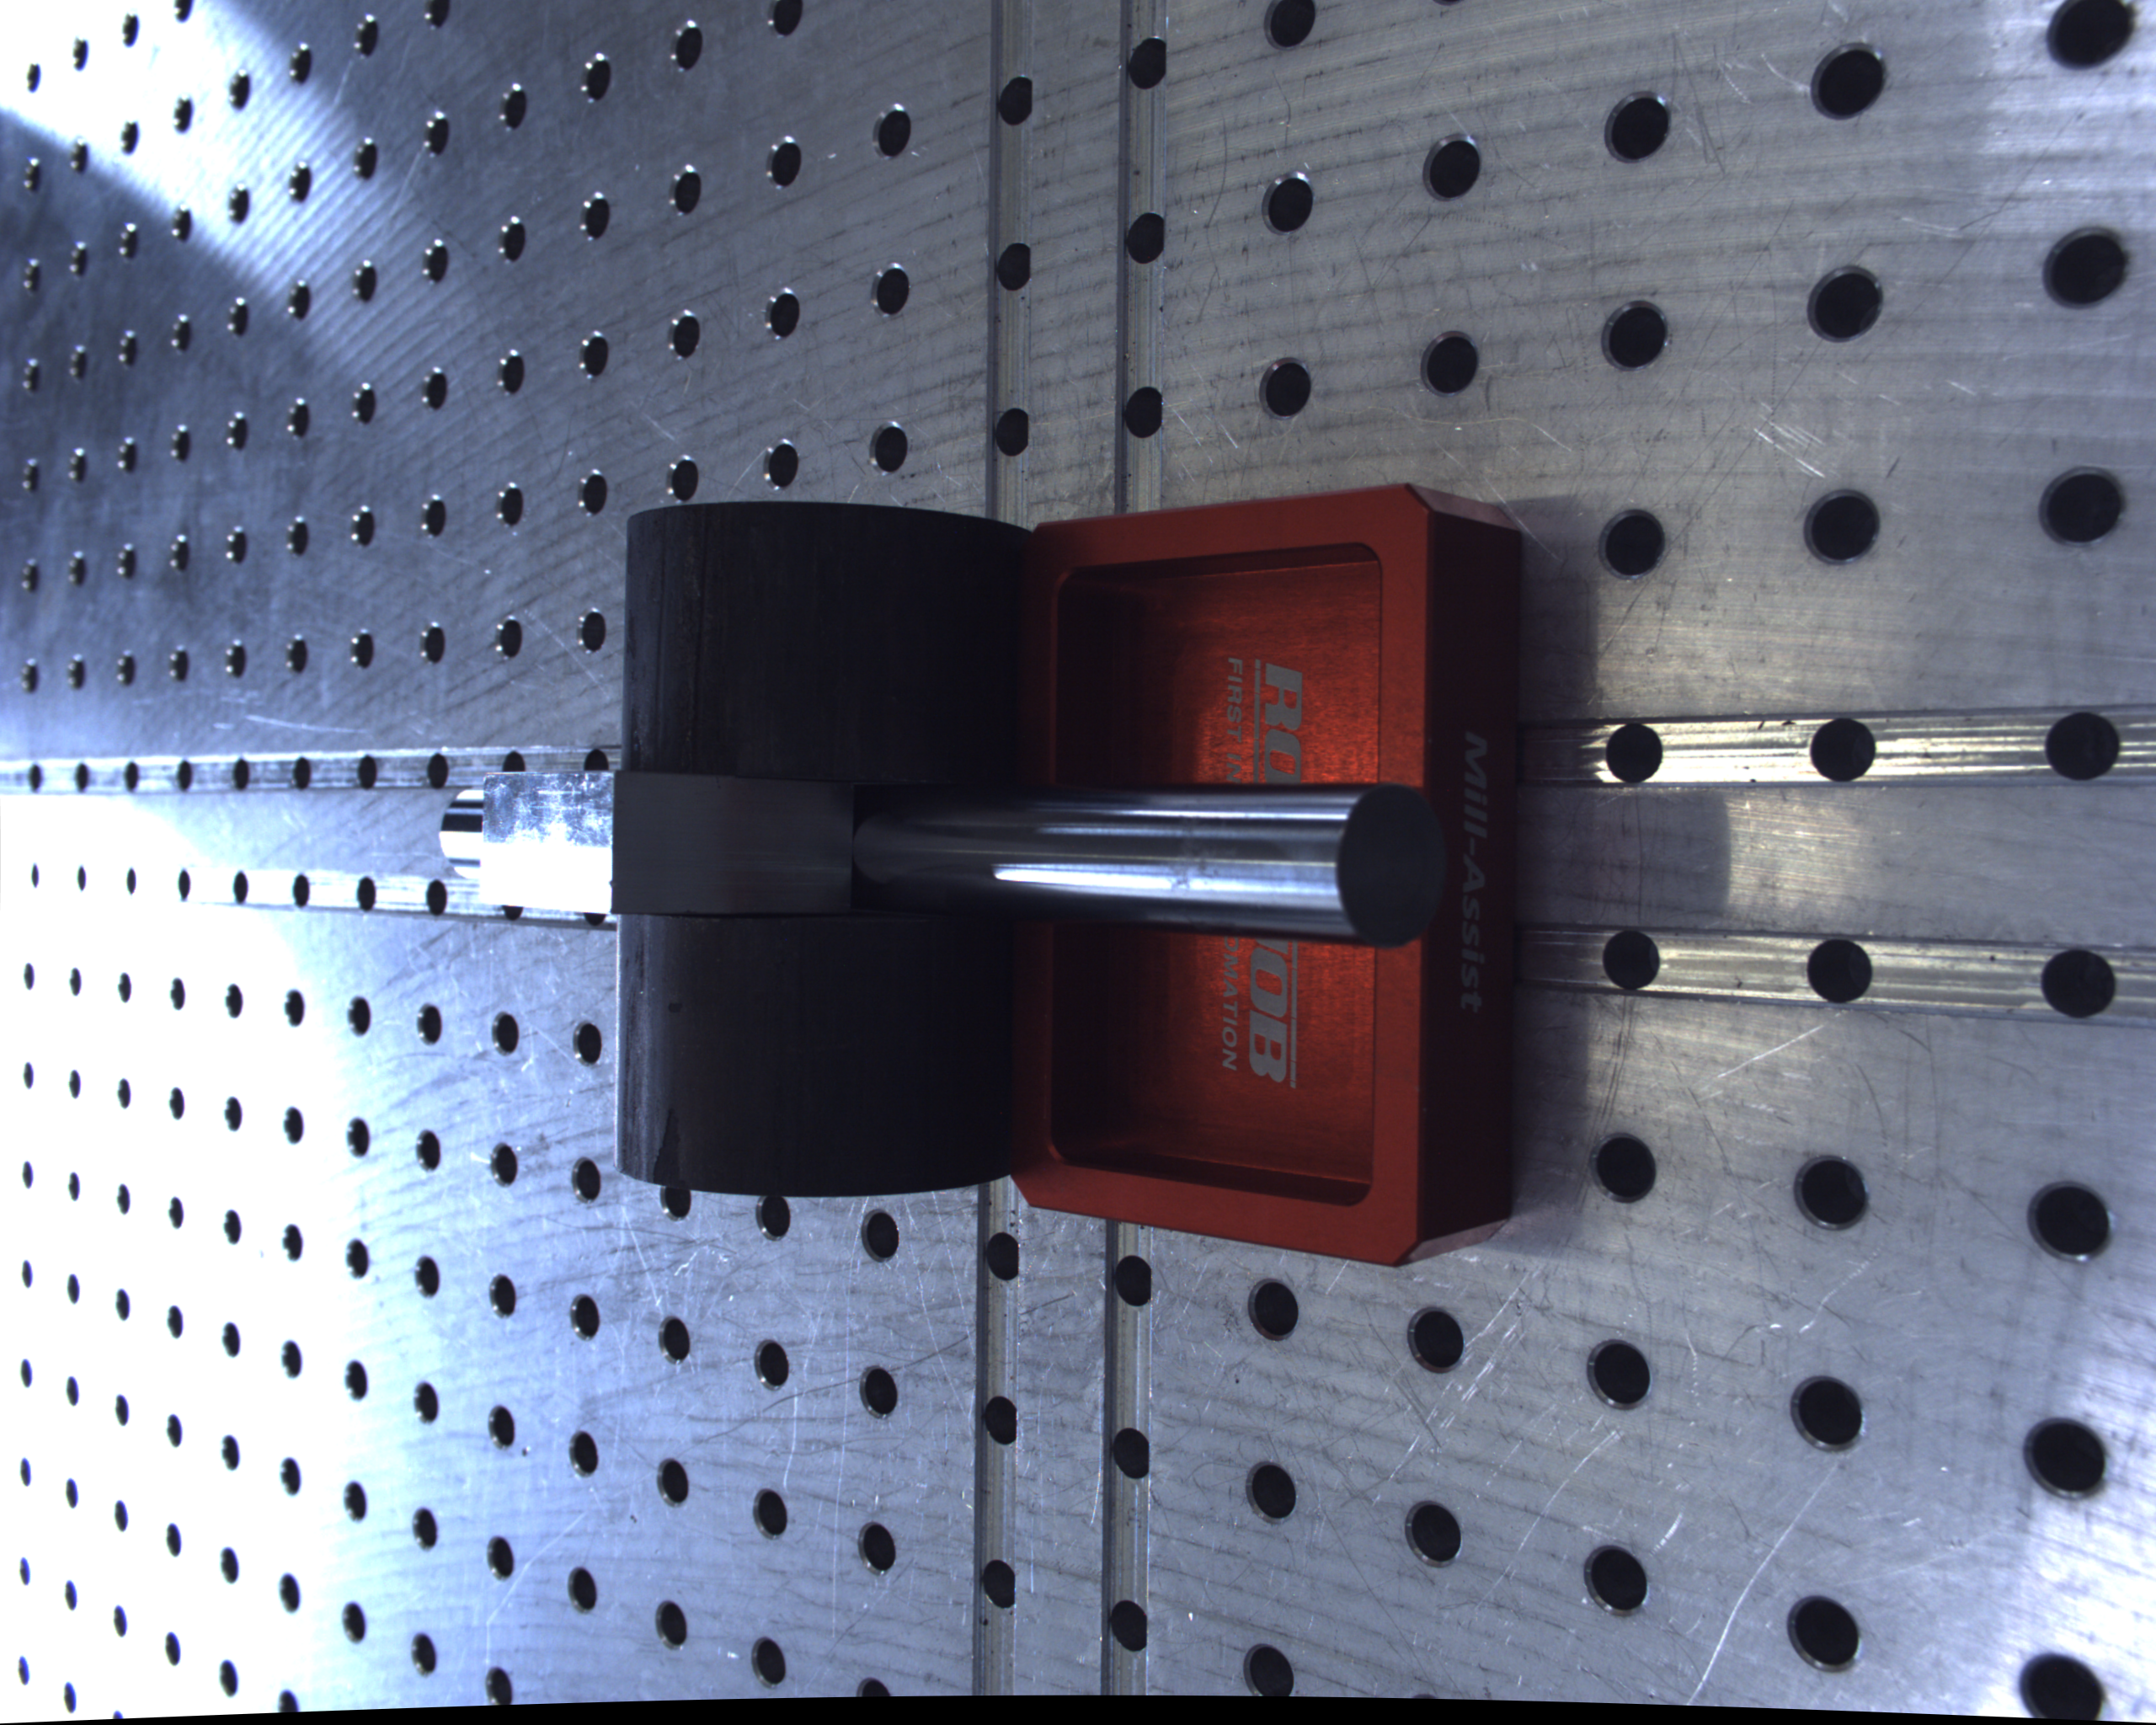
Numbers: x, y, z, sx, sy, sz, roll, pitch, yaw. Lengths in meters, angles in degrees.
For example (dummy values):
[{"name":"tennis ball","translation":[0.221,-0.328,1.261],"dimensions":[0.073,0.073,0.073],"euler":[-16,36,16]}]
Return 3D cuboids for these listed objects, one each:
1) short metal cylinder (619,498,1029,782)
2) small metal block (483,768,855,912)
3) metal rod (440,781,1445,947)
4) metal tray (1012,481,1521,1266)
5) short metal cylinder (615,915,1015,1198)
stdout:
[{"name":"short metal cylinder","translation":[-0.049,-0.041,0.412],"dimensions":[0.080,0.081,0.050],"euler":[1,91,40]},{"name":"small metal block","translation":[-0.078,-0.004,0.395],"dimensions":[0.050,0.050,0.025],"euler":[1,91,48]},{"name":"metal rod","translation":[-0.053,-0.003,0.422],"dimensions":[0.300,0.025,0.025],"euler":[2,92,49]},{"name":"metal tray","translation":[0.032,0.001,0.379],"dimensions":[0.090,0.030,0.129],"euler":[2,91,40]},{"name":"short metal cylinder","translation":[-0.051,0.035,0.415],"dimensions":[0.080,0.081,0.050],"euler":[2,92,40]}]
